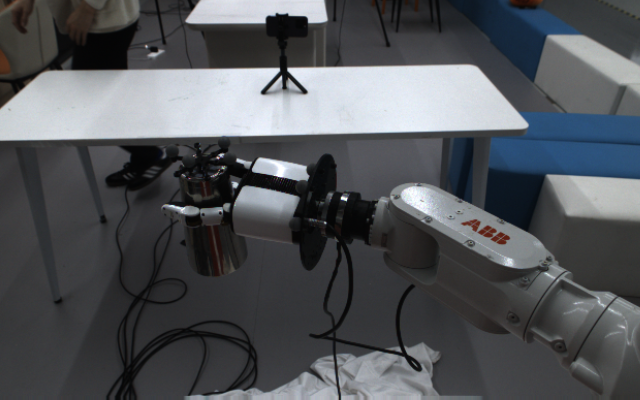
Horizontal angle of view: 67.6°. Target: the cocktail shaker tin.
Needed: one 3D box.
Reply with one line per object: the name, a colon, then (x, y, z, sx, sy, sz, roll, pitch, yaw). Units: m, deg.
cocktail shaker tin: (-0.156, 0.018, 0.705, 0.093, 0.170, 0.093, 1, 40, 0)
